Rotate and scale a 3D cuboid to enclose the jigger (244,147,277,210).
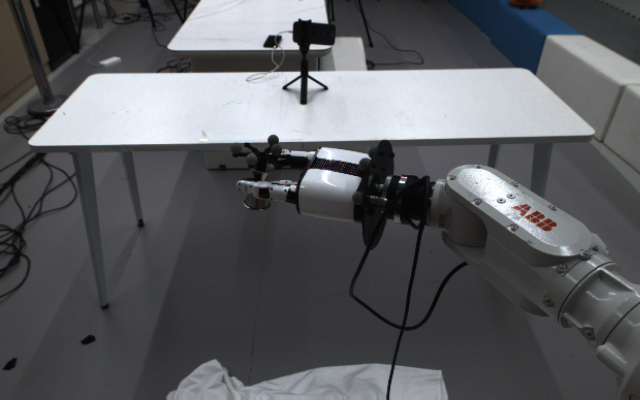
[{"bbox_3d":[-0.096,-0.024,0.752,0.043,0.071,0.043,9,31,-5],"label":"jigger"}]
